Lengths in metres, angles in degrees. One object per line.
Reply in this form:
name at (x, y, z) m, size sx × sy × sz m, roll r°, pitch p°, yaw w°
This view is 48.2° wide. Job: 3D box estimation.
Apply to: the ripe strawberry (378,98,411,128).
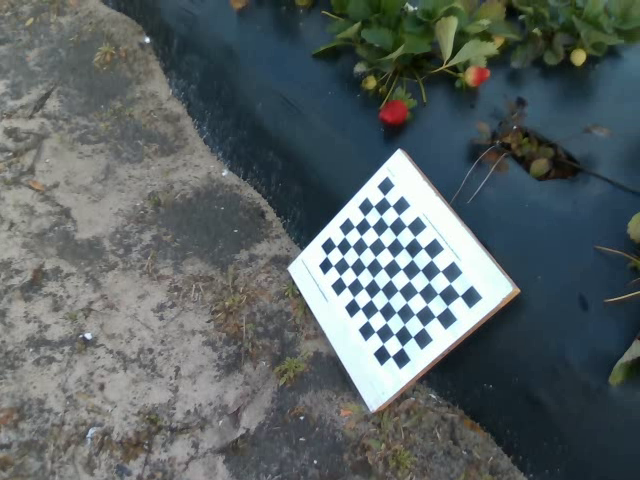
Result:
ripe strawberry at (0.105, -0.195, 1.067) m, size 0.045 × 0.042 × 0.054 m, roll -6°, pitch 13°, yaw 42°
